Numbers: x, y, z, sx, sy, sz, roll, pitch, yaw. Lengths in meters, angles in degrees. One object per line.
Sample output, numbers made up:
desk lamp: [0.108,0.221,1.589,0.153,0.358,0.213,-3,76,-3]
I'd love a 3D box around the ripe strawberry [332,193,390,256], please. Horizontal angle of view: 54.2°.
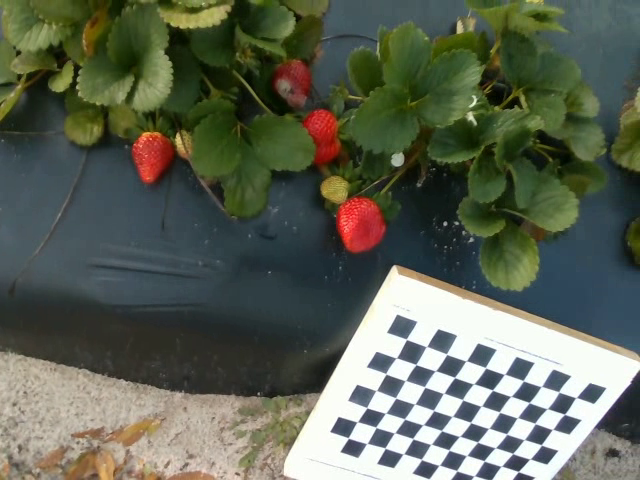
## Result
ripe strawberry: [0.016,-0.003,0.247,0.022,0.025,0.030,16,34,16]

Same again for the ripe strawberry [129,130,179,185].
ripe strawberry: [-0.063,-0.029,0.231,0.018,0.022,0.017,1,-16,-6]
